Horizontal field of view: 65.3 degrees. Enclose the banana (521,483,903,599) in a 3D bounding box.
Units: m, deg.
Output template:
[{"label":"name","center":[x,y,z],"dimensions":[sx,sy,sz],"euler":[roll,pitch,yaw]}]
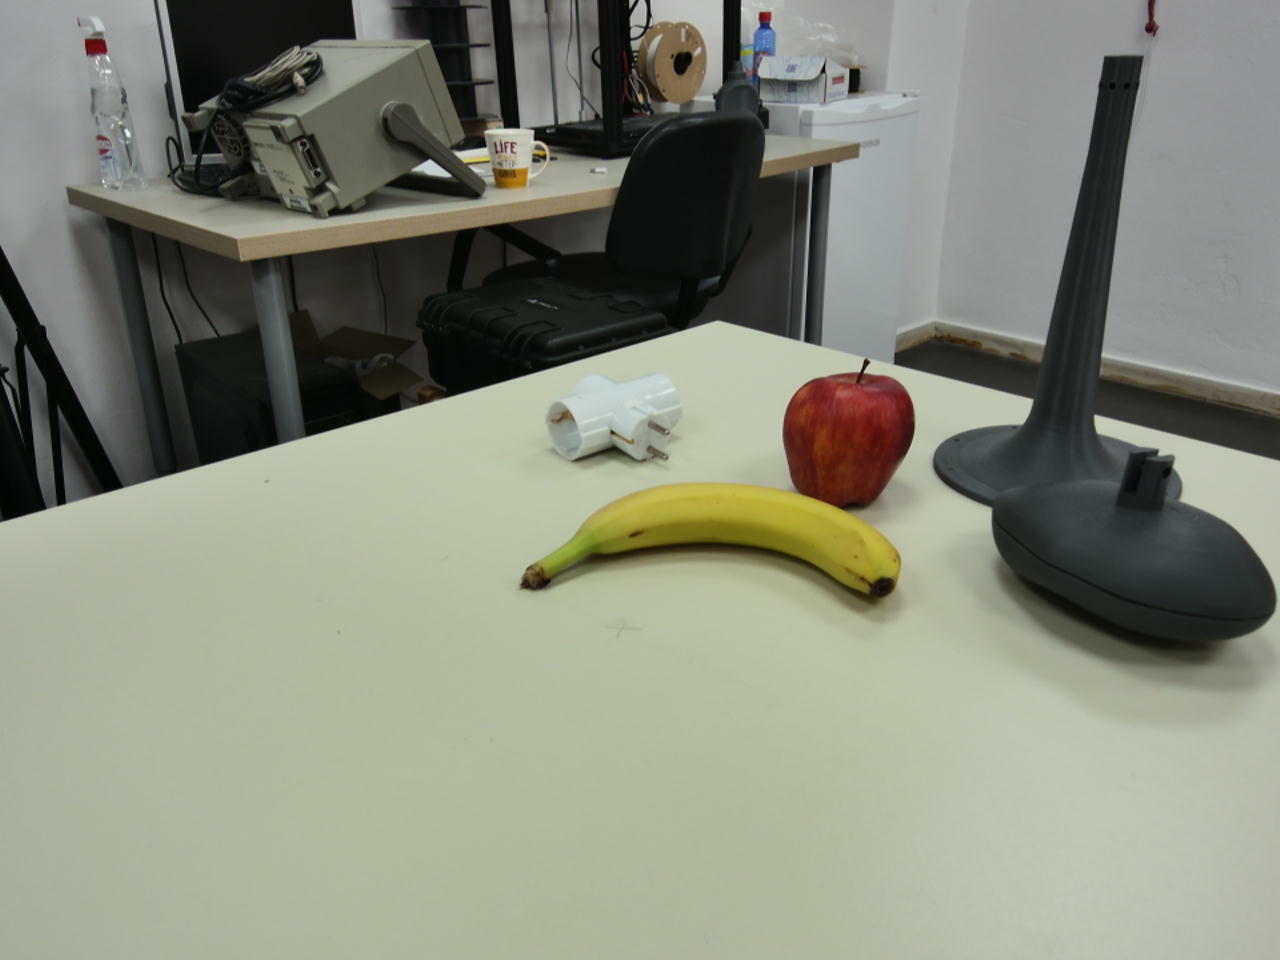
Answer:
[{"label":"banana","center":[0.041,0.031,0.553],"dimensions":[0.196,0.041,0.094],"euler":[5,24,12]}]
